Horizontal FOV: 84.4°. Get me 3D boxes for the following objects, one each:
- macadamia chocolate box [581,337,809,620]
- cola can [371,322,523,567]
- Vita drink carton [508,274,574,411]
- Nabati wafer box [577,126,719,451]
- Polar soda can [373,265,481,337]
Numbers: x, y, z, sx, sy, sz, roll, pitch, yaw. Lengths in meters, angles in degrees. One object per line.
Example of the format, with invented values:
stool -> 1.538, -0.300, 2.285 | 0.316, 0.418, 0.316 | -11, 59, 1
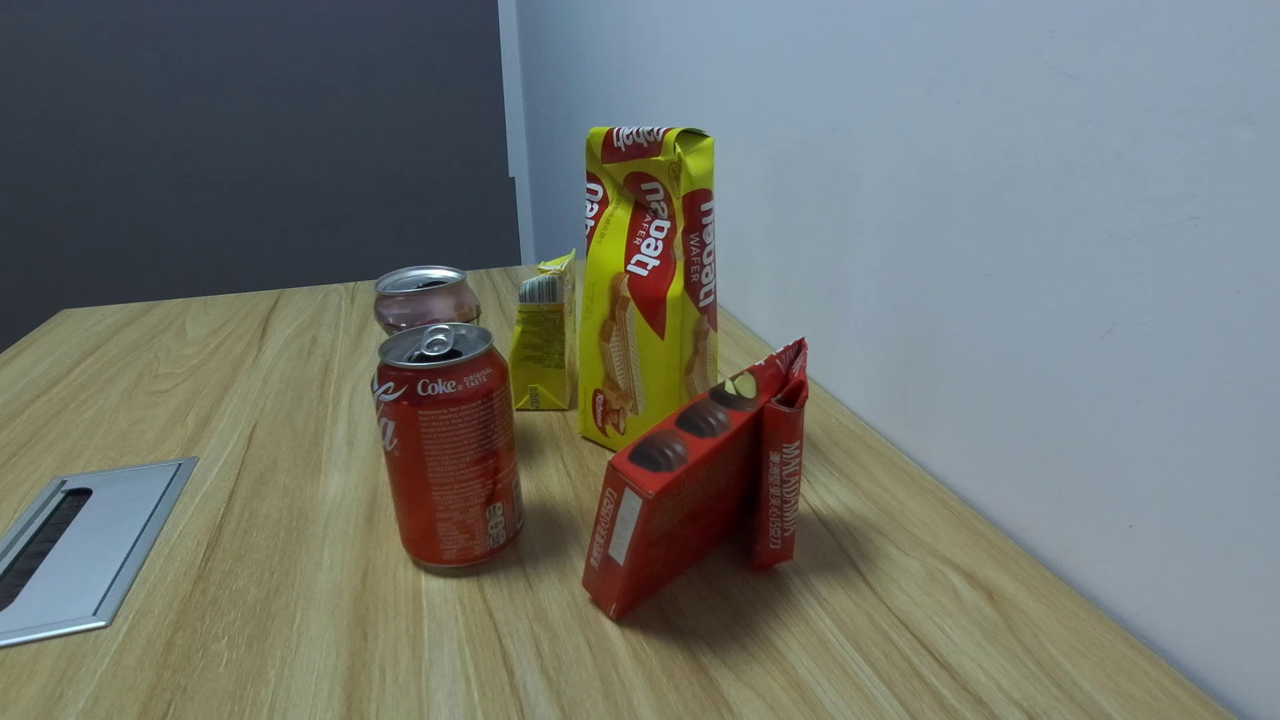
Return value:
macadamia chocolate box -> 0.034, 0.057, 0.334 | 0.127, 0.112, 0.056 | -18, 30, -33
cola can -> -0.098, 0.044, 0.367 | 0.068, 0.120, 0.068 | -2, 24, 1
Vita drink carton -> -0.071, -0.024, 0.533 | 0.046, 0.110, 0.071 | 1, 23, 3
Nabati wafer box -> 0.002, -0.035, 0.433 | 0.112, 0.205, 0.043 | 17, 27, 40
Polar soda can -> -0.133, 0.005, 0.459 | 0.067, 0.122, 0.074 | -4, 23, -1
